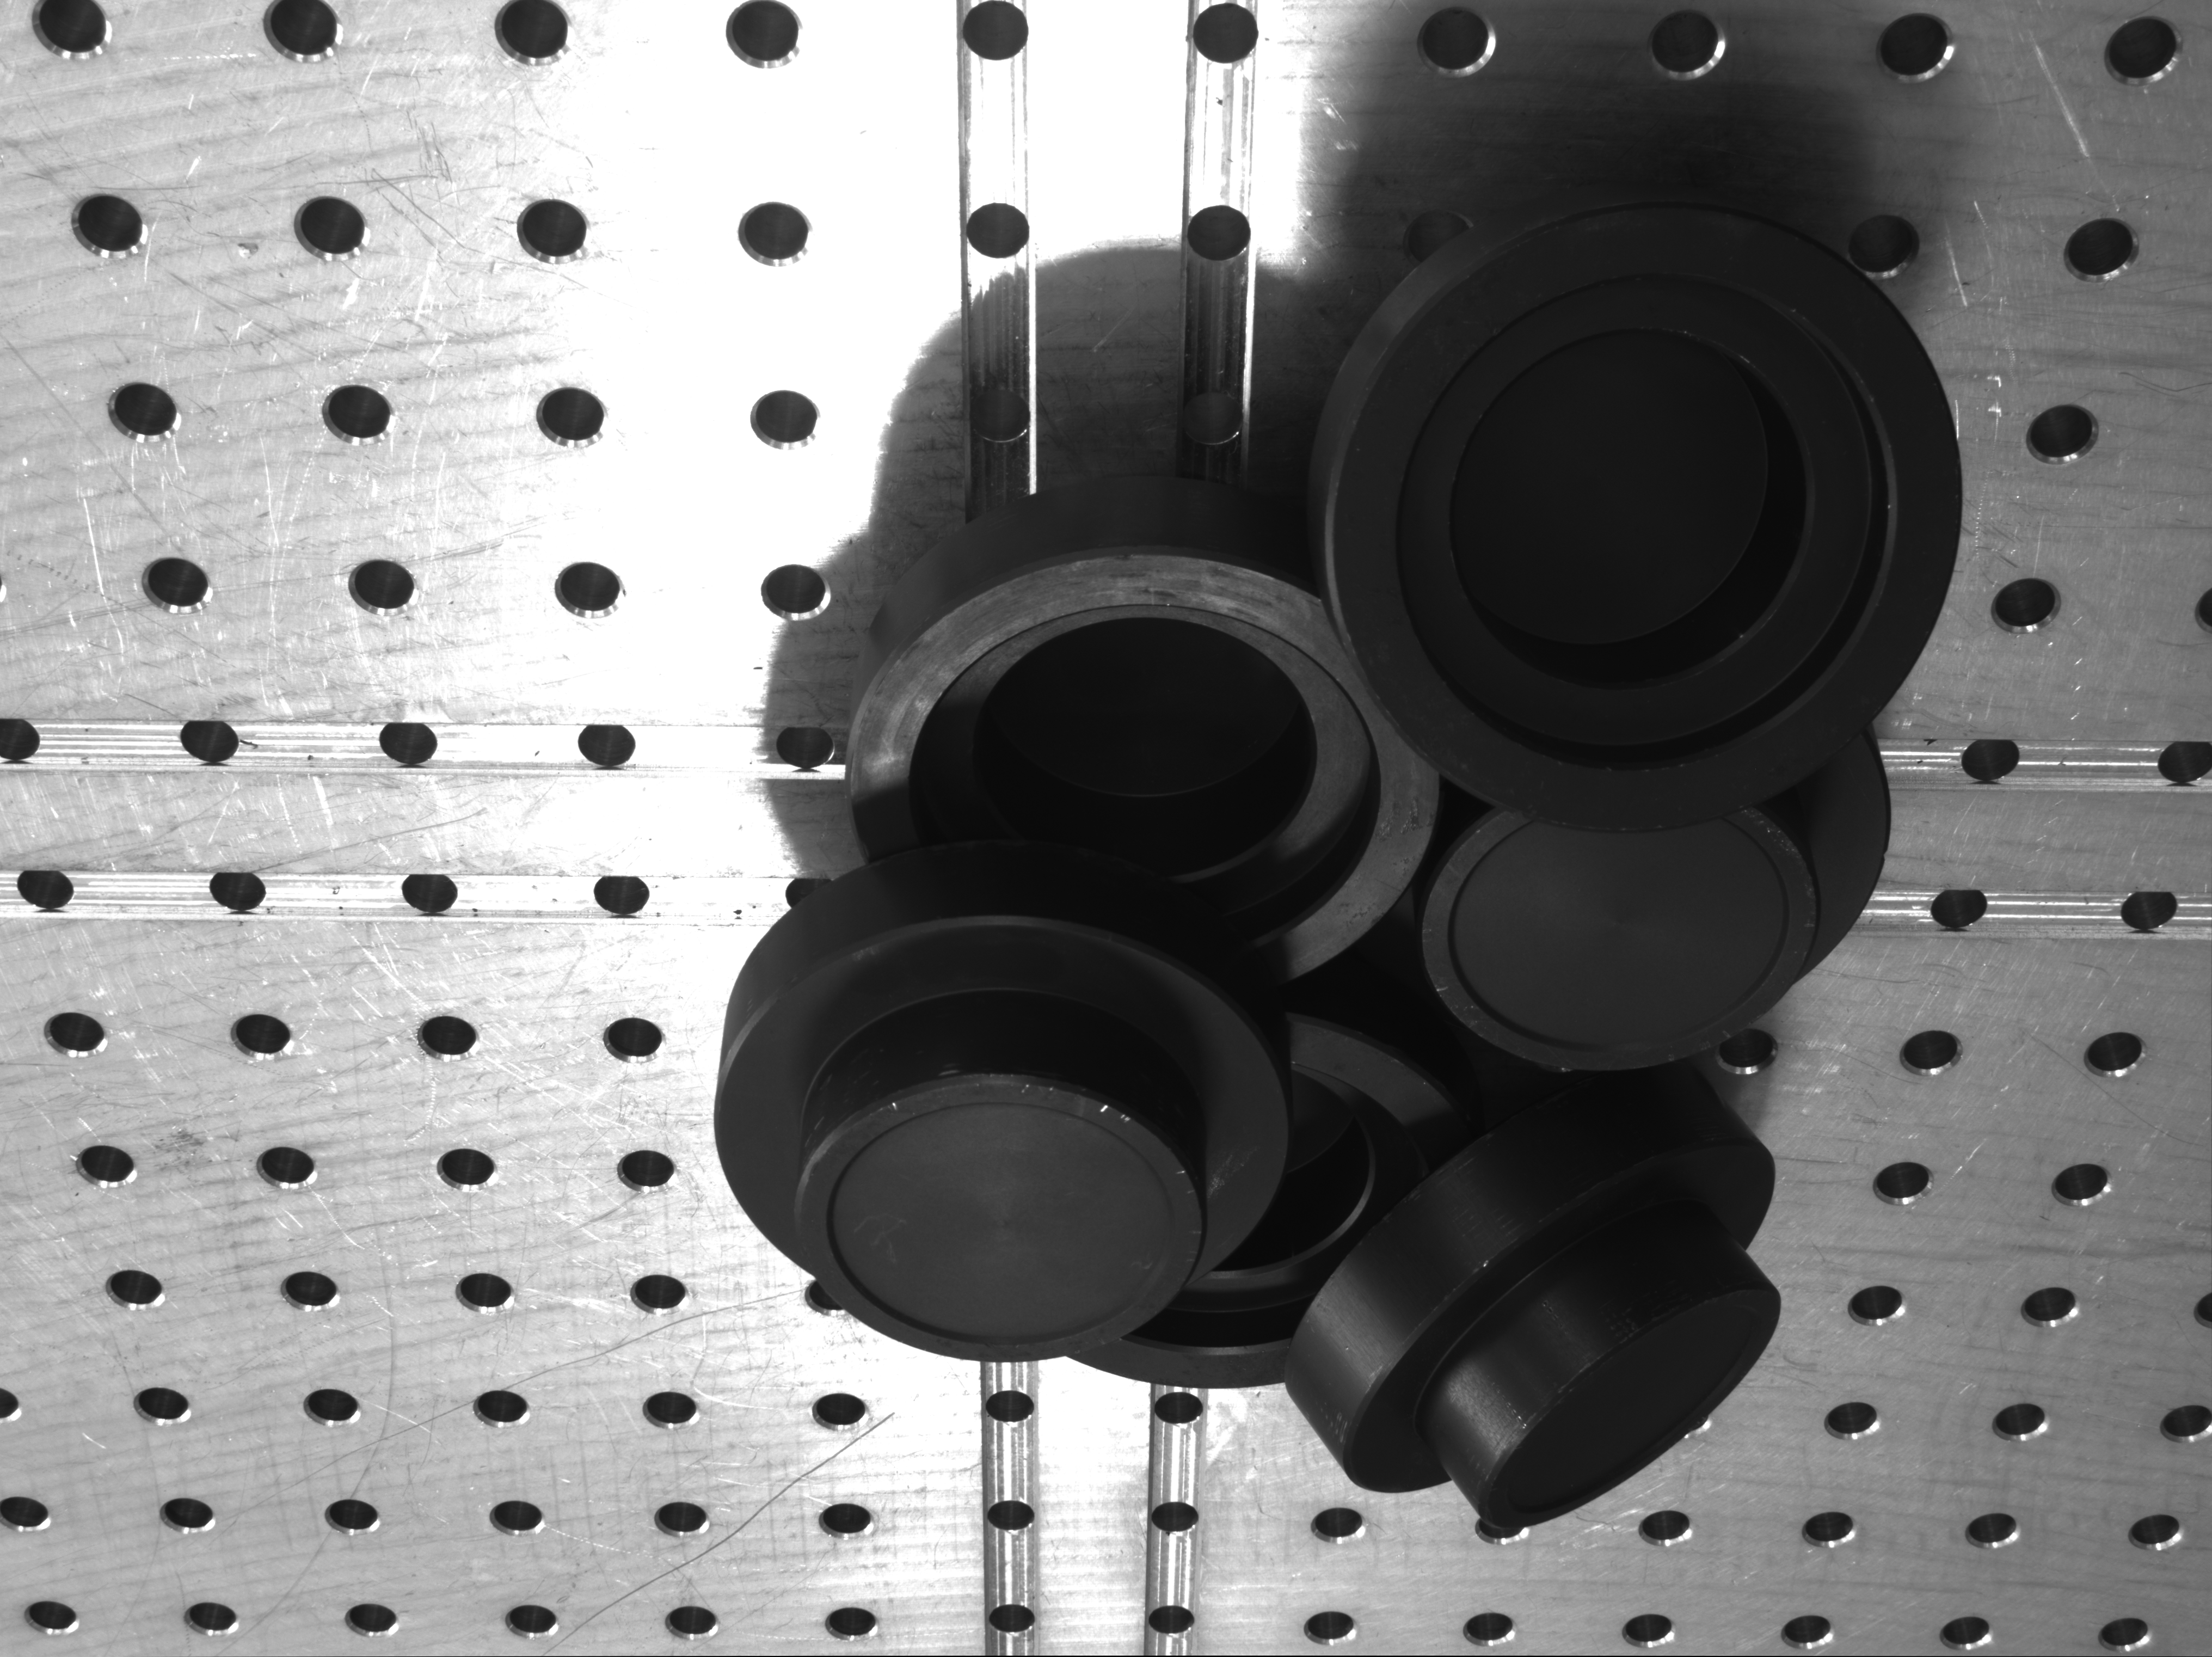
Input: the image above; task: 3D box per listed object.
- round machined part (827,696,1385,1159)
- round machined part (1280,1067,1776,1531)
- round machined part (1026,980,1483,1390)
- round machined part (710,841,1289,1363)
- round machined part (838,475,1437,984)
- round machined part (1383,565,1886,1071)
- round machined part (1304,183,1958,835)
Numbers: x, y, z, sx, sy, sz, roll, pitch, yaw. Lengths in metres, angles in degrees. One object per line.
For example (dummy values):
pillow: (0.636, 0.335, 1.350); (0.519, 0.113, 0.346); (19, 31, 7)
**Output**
round machined part: (-0.001, 0.015, 0.644); (0.098, 0.042, 0.098); (0, 130, 0)
round machined part: (0.084, 0.092, 0.677); (0.098, 0.042, 0.098); (-27, 149, -18)
round machined part: (0.020, 0.056, 0.679); (0.098, 0.042, 0.098); (0, 130, 0)
round machined part: (-0.018, 0.052, 0.620); (0.098, 0.042, 0.098); (0, 130, 0)
round machined part: (0.005, -0.019, 0.616); (0.098, 0.042, 0.098); (0, 130, 0)
round machined part: (0.086, 0.004, 0.635); (0.098, 0.042, 0.098); (0, 130, 0)
round machined part: (0.079, -0.052, 0.574); (0.098, 0.042, 0.098); (-2, 109, -6)
